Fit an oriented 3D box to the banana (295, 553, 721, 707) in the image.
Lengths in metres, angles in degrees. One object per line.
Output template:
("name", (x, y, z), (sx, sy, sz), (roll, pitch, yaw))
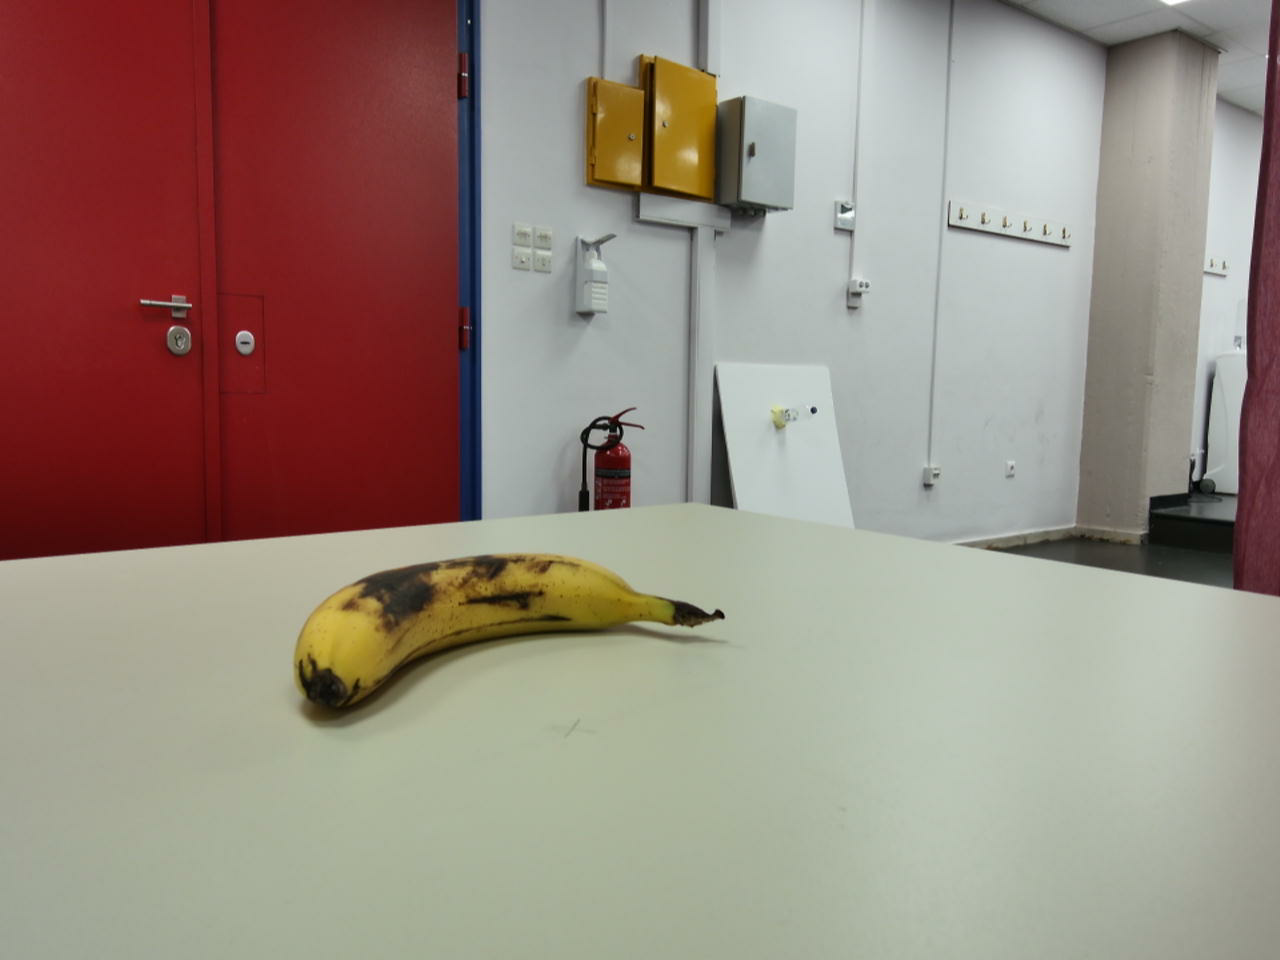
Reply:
("banana", (-0.065, 0.056, 0.423), (0.187, 0.039, 0.094), (-4, 5, -40))
